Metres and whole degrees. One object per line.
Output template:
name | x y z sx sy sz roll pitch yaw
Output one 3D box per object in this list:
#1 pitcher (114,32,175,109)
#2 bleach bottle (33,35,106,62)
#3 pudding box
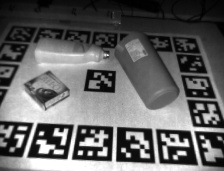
pitcher | 0.110 -0.046 0.715 0.191 0.132 0.240 8 47 -44
bleach bottle | -0.146 -0.133 0.784 0.251 0.068 0.102 2 55 -6
pudding box | -0.213 0.003 0.678 0.091 0.039 0.112 -31 61 -33
